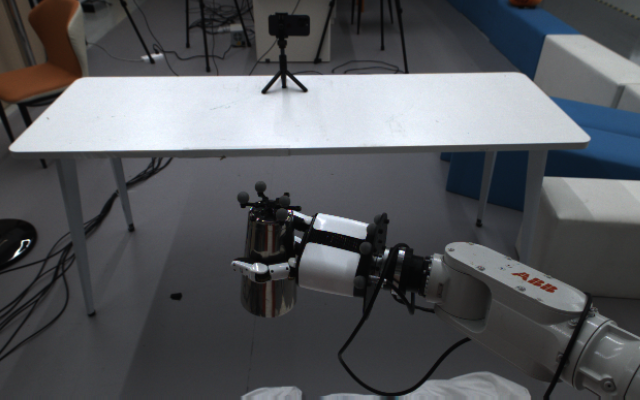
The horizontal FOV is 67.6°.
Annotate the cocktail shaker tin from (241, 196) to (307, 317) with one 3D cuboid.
[{"bbox_3d":[-0.078,0.087,0.747,0.093,0.170,0.093,3,32,-2],"label":"cocktail shaker tin"}]
